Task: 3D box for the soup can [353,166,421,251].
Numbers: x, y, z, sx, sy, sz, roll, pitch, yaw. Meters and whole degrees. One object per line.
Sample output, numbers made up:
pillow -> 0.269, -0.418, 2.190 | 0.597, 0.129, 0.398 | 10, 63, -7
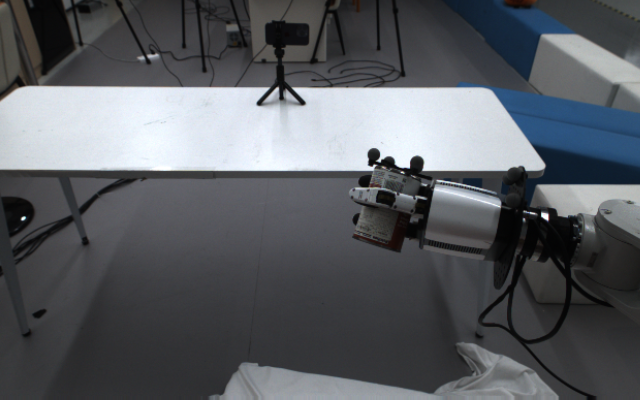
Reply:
soup can -> 0.092, 0.012, 0.650 | 0.067, 0.101, 0.067 | 17, -1, 0
